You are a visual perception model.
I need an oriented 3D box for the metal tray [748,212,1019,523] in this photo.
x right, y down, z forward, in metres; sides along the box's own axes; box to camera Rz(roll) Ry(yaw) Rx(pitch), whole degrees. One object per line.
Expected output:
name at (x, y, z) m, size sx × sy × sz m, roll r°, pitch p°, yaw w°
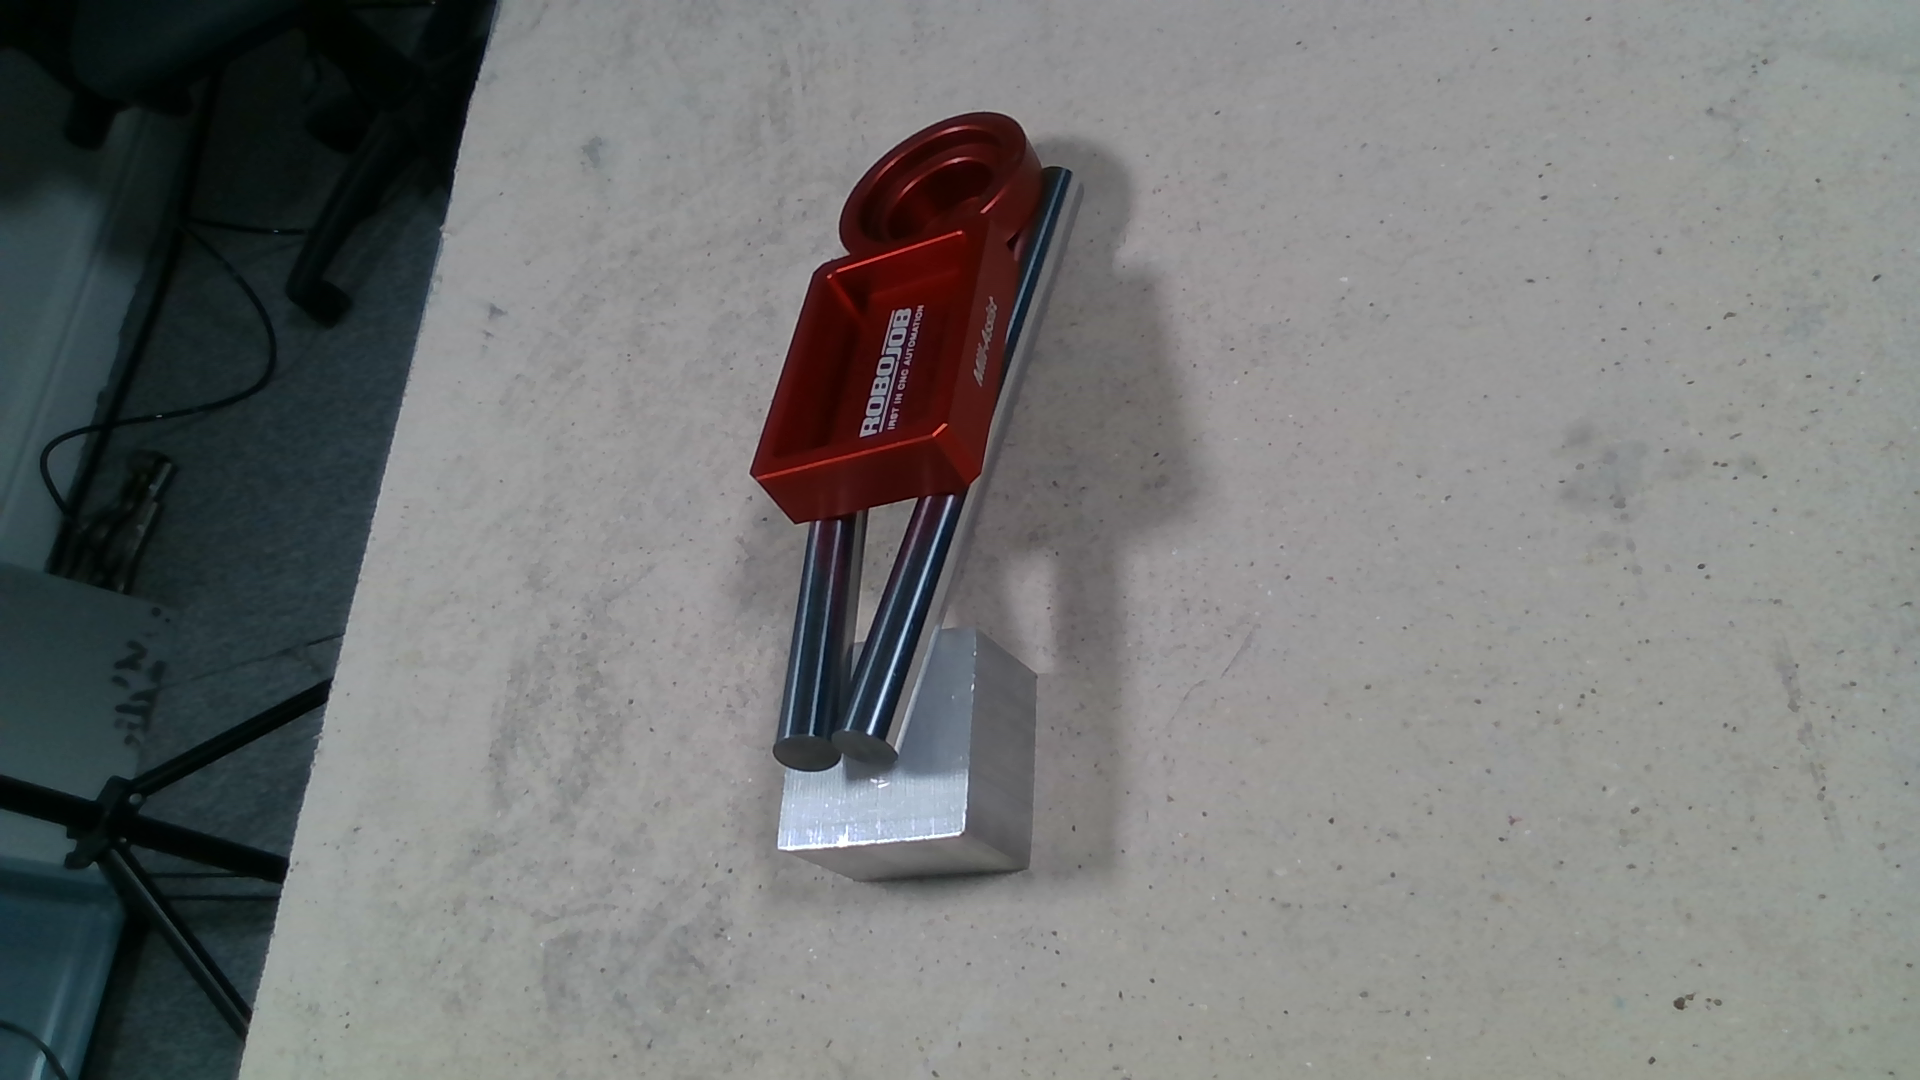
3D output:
metal tray at (-0.029, -0.073, 0.572) m, size 0.090 × 0.030 × 0.130 m, roll -12°, pitch 47°, yaw 26°

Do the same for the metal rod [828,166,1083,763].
metal rod at (0.005, -0.047, 0.565) m, size 0.025 × 0.025 × 0.299 m, roll -4°, pitch 51°, yaw 30°

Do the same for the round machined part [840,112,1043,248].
round machined part at (-0.004, -0.153, 0.651) m, size 0.098 × 0.042 × 0.098 m, roll -19°, pitch 47°, yaw 21°

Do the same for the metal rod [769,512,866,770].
metal rod at (-0.050, -0.036, 0.594) m, size 0.025 × 0.025 × 0.299 m, roll -18°, pitch 44°, yaw 23°

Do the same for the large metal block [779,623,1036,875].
large metal block at (-0.019, 0.084, 0.534) m, size 0.080 × 0.050 × 0.080 m, roll -11°, pitch 60°, yaw 27°
